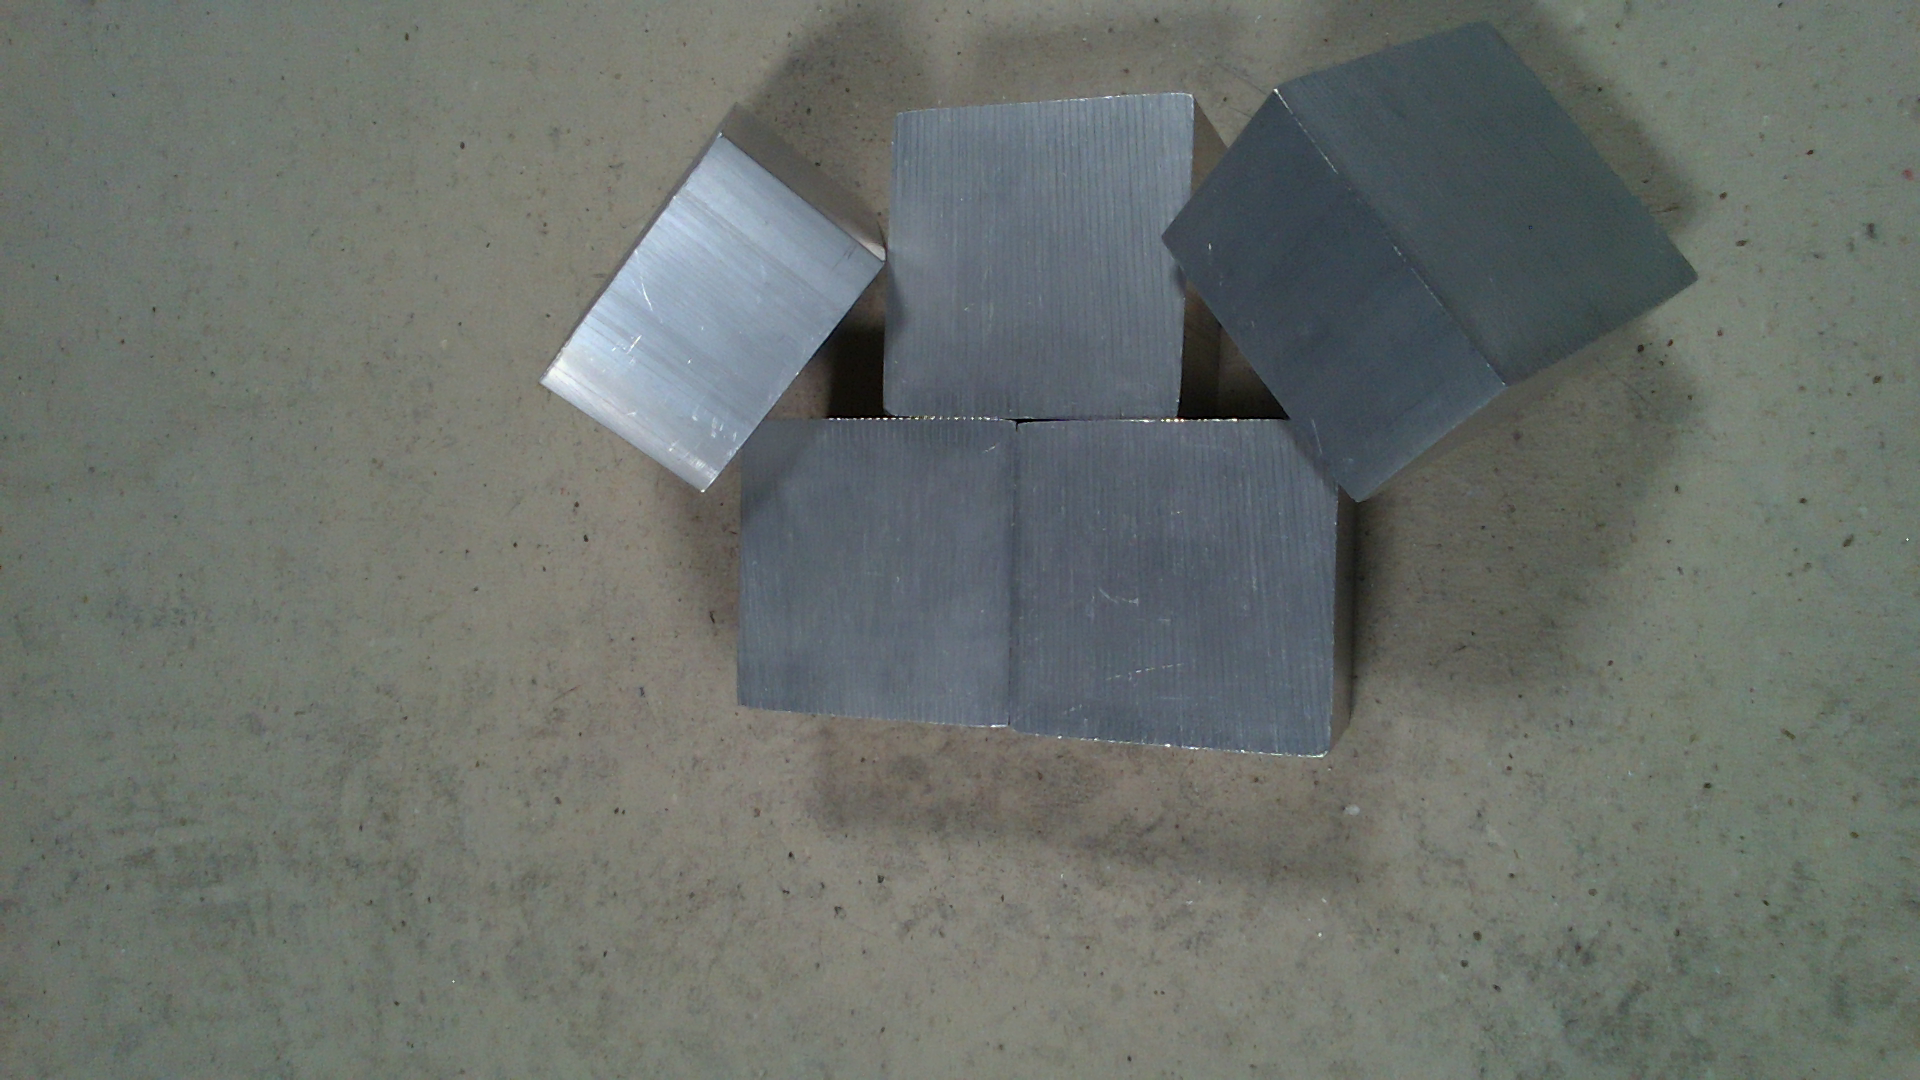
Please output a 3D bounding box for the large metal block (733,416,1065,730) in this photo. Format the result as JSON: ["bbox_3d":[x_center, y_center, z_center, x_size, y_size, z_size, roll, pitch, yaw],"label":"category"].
[{"bbox_3d":[-0.015,0.007,0.388,0.080,0.050,0.080,1,91,20],"label":"large metal block"}]

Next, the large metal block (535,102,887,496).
[{"bbox_3d":[-0.067,-0.070,0.383,0.050,0.080,0.080,36,104,-19],"label":"large metal block"}]

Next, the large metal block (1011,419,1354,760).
[{"bbox_3d":[0.060,0.011,0.359,0.080,0.050,0.080,1,91,20],"label":"large metal block"}]

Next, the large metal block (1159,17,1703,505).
[{"bbox_3d":[0.109,-0.067,0.321,0.080,0.080,0.050,56,147,11],"label":"large metal block"}]

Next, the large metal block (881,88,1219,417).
[{"bbox_3d":[0.027,-0.072,0.373,0.080,0.050,0.080,3,91,20],"label":"large metal block"}]
